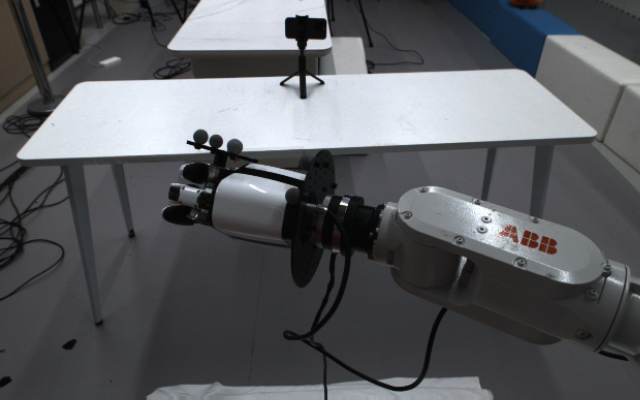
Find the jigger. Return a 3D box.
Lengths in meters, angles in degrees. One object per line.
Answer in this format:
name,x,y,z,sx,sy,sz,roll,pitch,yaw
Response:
jigger,-0.129,-0.008,0.581,0.043,0.071,0.043,17,2,-1
